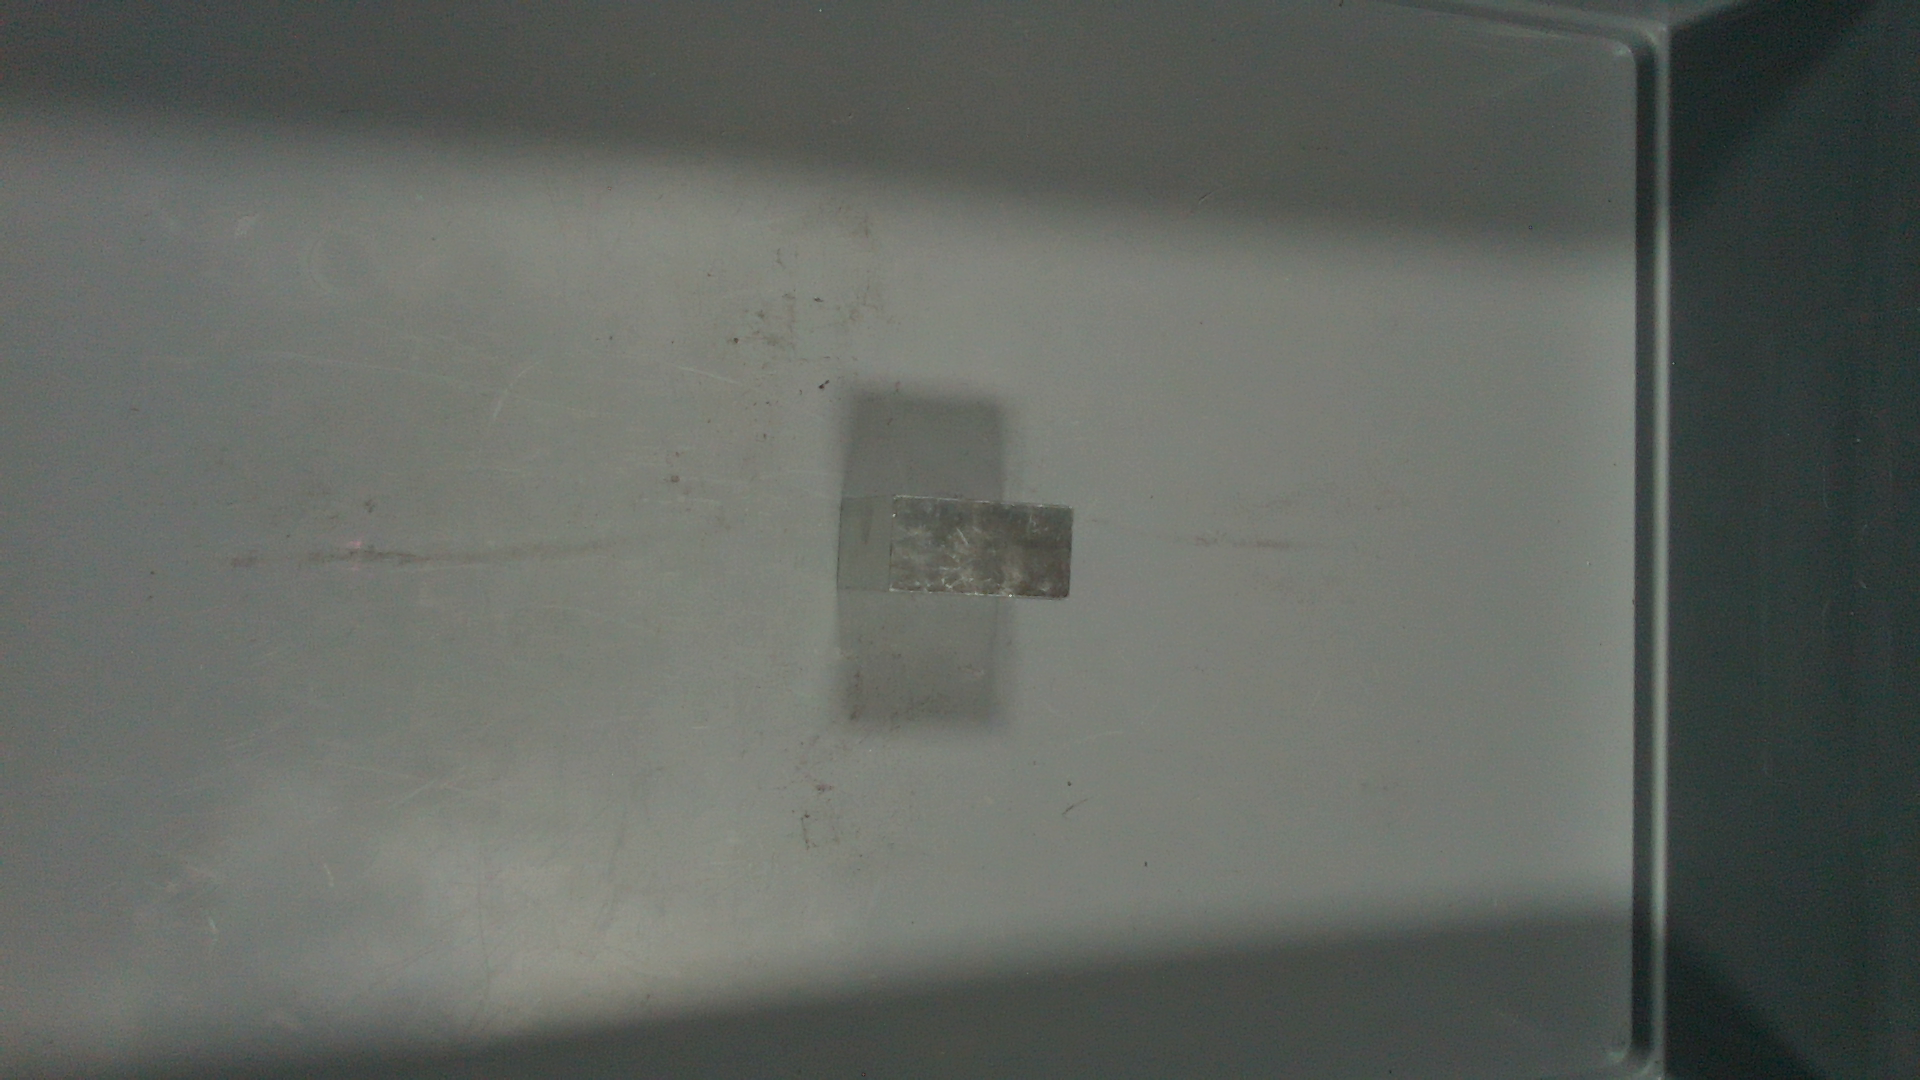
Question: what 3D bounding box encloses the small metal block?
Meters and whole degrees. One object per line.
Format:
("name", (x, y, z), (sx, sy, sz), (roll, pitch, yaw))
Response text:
("small metal block", (-0.003, 0.002, 0.376), (0.050, 0.050, 0.025), (3, 89, -20))
